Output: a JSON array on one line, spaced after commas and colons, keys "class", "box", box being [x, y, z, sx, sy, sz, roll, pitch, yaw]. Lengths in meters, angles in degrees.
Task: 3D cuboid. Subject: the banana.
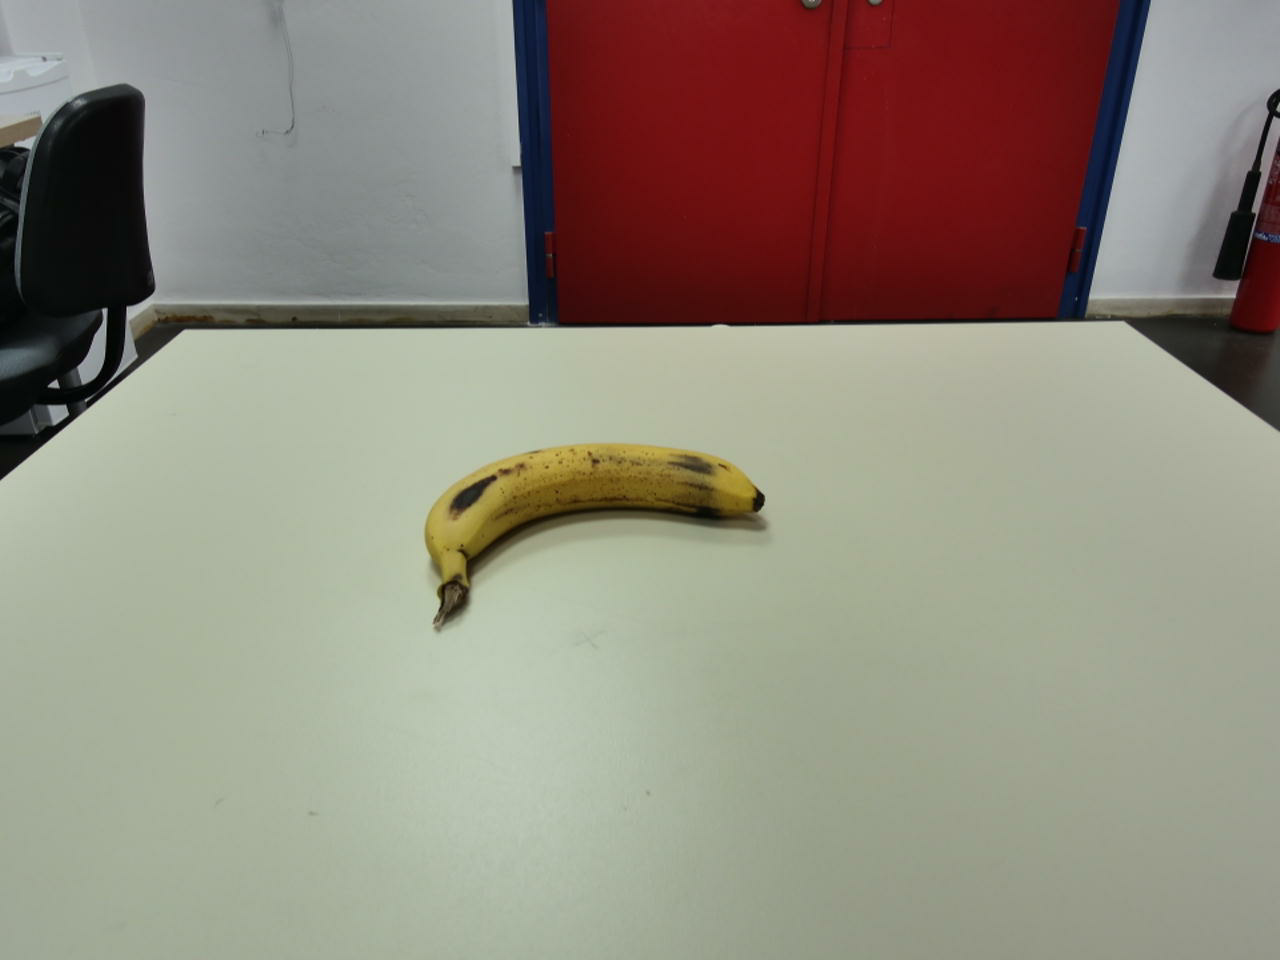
[{"class": "banana", "box": [-0.033, 0.013, 0.539, 0.186, 0.038, 0.097, -13, 29, -25]}]
